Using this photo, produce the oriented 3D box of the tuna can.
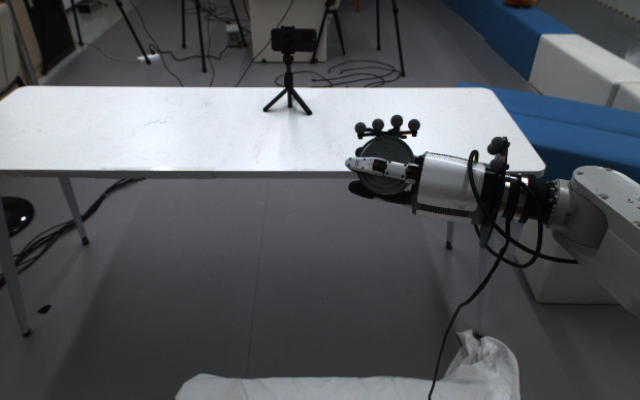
[{"bbox_3d":[0.098,-0.050,0.714,0.085,0.085,0.034,15,1,18],"label":"tuna can"}]
